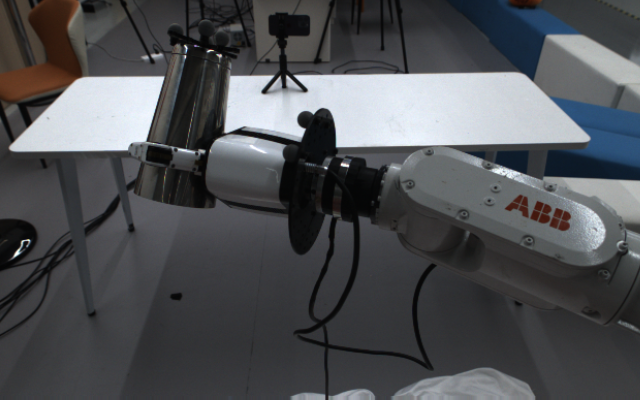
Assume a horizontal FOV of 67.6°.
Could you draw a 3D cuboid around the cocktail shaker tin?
[{"bbox_3d":[-0.150,-0.082,0.553,0.093,0.170,0.093,12,5,-1],"label":"cocktail shaker tin"}]
